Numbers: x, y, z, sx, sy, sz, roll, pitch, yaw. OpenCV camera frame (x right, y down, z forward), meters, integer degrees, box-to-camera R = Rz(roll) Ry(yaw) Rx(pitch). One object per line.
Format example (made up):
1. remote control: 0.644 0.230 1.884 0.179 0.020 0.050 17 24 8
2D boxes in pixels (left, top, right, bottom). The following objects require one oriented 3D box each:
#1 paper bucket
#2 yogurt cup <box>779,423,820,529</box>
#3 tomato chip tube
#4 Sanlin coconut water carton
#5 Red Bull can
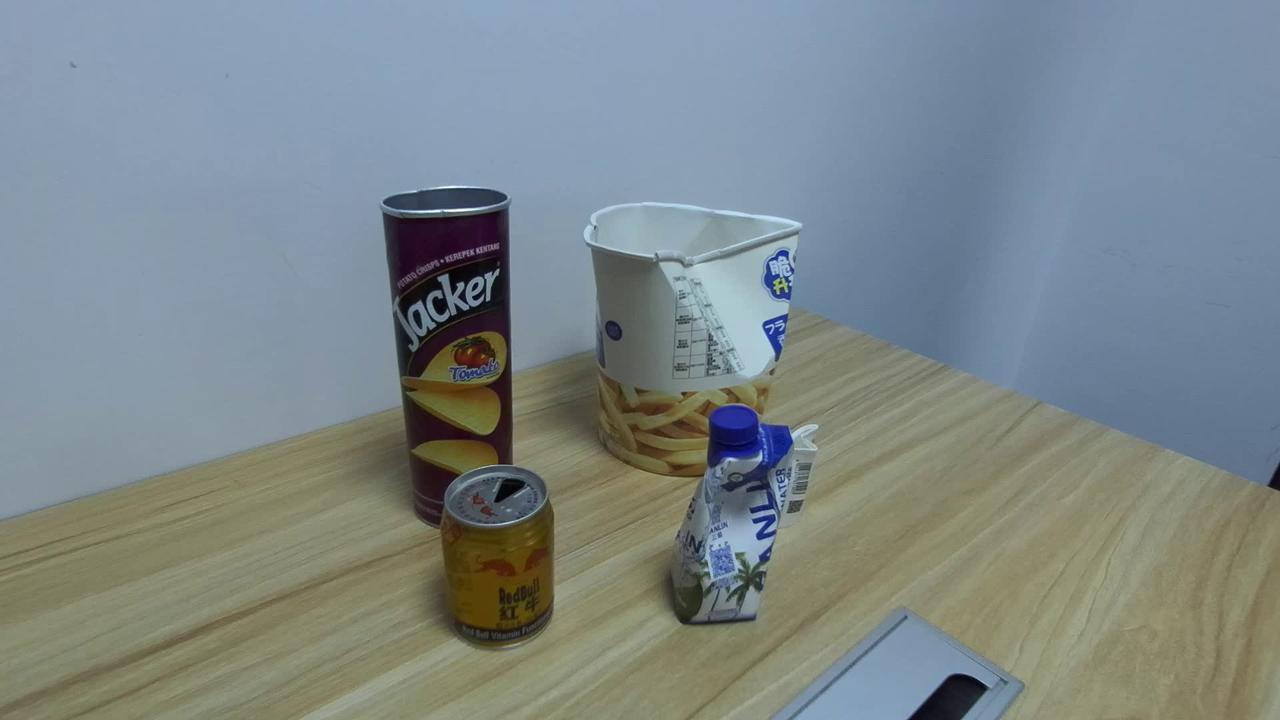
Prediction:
1. paper bucket: 0.036 -0.017 0.607 0.168 0.202 0.163 9 28 18
2. yogurt cup: 0.104 0.084 0.545 0.055 0.072 0.055 12 31 12
3. tomato chip tube: -0.129 0.003 0.502 0.080 0.234 0.076 0 25 -7
4. Sanlin coconut water carton: 0.062 0.097 0.435 0.068 0.144 0.056 7 31 -12
5. Red Bull can: -0.085 0.118 0.429 0.068 0.093 0.068 3 24 -1
